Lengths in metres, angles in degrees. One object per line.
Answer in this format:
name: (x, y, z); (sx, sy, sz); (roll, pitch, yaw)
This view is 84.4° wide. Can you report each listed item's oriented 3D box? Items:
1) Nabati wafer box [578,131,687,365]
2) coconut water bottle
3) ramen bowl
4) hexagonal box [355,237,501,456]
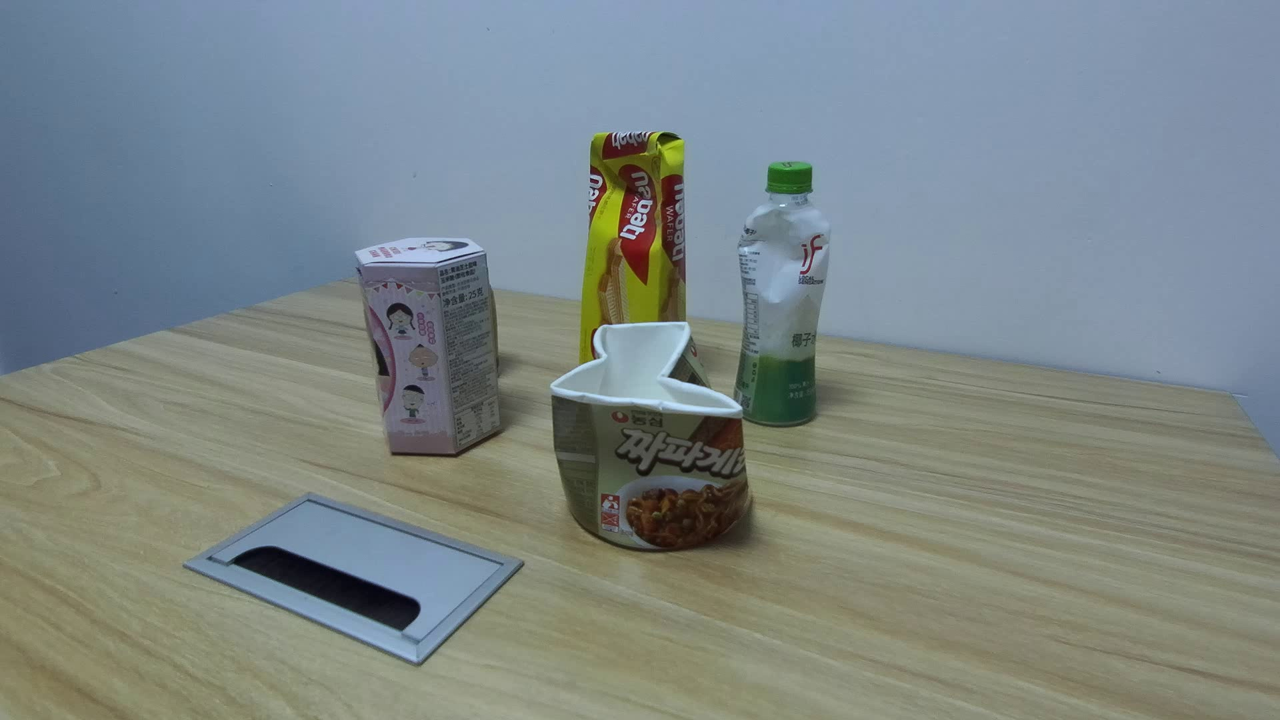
Nabati wafer box: (-0.007, -0.080, 0.584); (0.112, 0.205, 0.043); (15, 24, 39)
coconut water bottle: (0.105, -0.047, 0.517); (0.069, 0.187, 0.069); (1, 20, 0)
ramen bowl: (0.012, 0.040, 0.422); (0.111, 0.093, 0.128); (5, 22, 11)
hexagonal box: (-0.147, -0.010, 0.498); (0.084, 0.136, 0.091); (-10, 23, -25)
